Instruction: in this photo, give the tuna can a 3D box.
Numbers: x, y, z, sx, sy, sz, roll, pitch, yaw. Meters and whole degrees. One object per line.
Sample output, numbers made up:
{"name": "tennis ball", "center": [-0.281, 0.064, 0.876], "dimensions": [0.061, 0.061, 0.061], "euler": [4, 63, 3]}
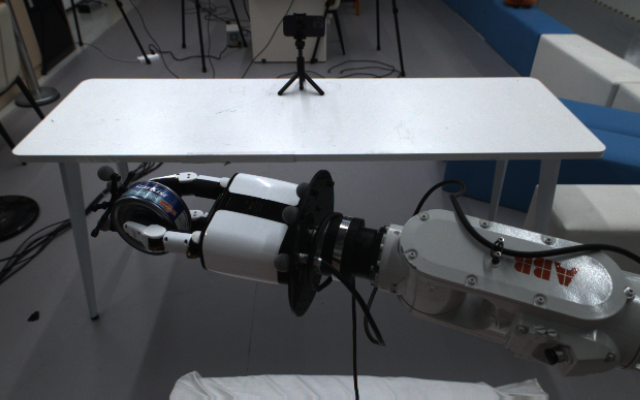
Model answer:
{"name": "tuna can", "center": [-0.192, 0.024, 0.558], "dimensions": [0.085, 0.085, 0.034], "euler": [8, 36, 9]}
